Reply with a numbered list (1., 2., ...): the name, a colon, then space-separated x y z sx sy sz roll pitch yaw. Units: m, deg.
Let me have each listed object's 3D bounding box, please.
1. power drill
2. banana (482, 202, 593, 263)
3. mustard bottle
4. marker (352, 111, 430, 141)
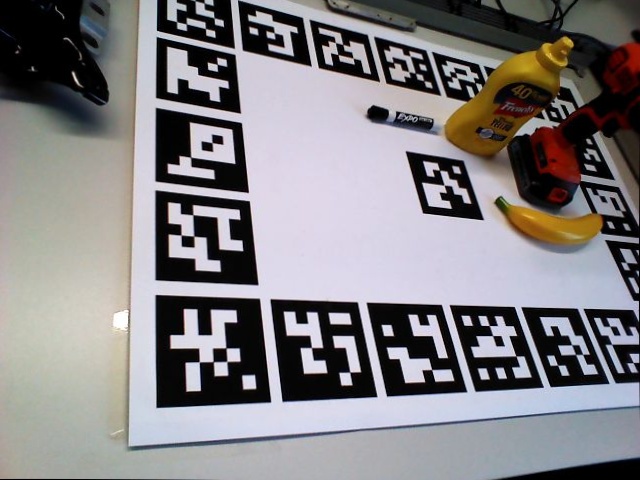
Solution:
1. power drill: 0.362 -0.122 0.718 0.057 0.188 0.183 19 54 -18
2. banana: 0.324 -0.002 0.752 0.197 0.039 0.074 13 60 -17
3. mustard bottle: 0.253 -0.182 0.720 0.096 0.193 0.058 17 57 -18
4. marker: 0.102 -0.164 0.744 0.121 0.020 0.019 8 61 -22
